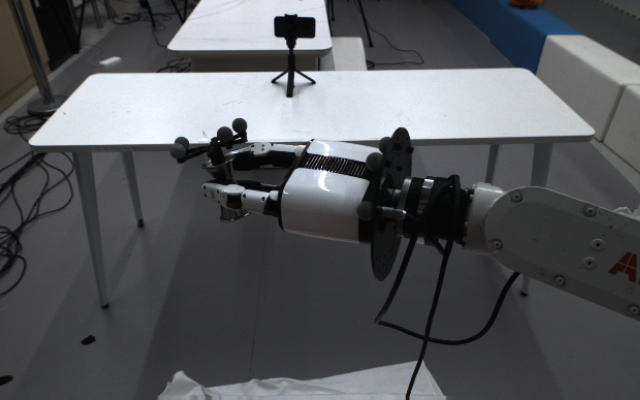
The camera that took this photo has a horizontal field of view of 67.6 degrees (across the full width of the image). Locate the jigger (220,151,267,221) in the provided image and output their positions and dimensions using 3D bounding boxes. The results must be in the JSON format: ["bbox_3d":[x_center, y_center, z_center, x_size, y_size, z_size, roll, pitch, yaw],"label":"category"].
[{"bbox_3d":[-0.105,-0.014,0.565,0.043,0.071,0.043,-14,22,6],"label":"jigger"}]
